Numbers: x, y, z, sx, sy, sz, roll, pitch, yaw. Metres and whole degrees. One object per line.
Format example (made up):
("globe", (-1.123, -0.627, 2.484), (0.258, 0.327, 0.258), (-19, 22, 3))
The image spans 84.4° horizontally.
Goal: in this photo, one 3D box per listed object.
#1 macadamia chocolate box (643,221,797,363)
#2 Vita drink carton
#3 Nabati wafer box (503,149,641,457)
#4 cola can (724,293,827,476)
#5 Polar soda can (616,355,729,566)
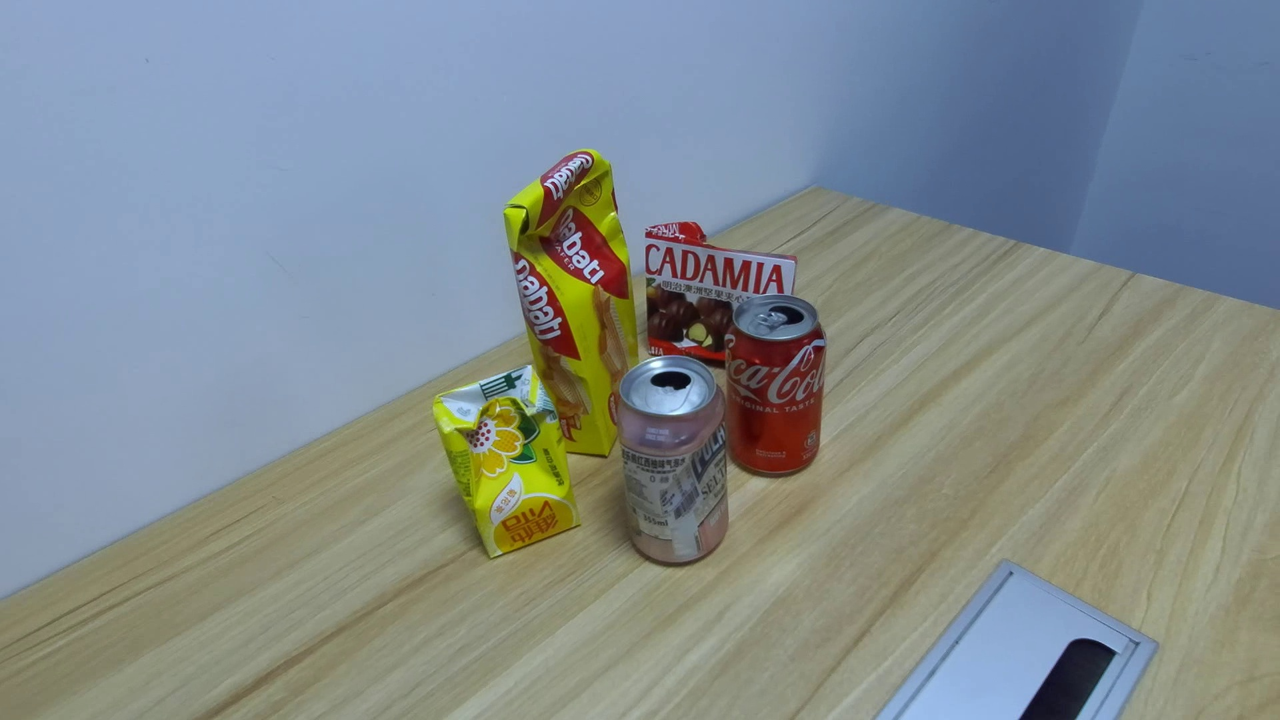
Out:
("macadamia chocolate box", (0.066, -0.053, 0.591), (0.126, 0.112, 0.056), (12, 38, 26))
("Vita drink carton", (-0.083, 0.067, 0.455), (0.071, 0.110, 0.046), (-18, 34, -13))
("Nabati wafer box", (-0.039, -0.035, 0.508), (0.042, 0.205, 0.113), (6, 38, 21))
("cola can", (0.093, 0.018, 0.487), (0.068, 0.120, 0.067), (-4, 35, 3))
("Polar soda can", (0.023, 0.062, 0.433), (0.074, 0.122, 0.067), (-18, 36, -14))
